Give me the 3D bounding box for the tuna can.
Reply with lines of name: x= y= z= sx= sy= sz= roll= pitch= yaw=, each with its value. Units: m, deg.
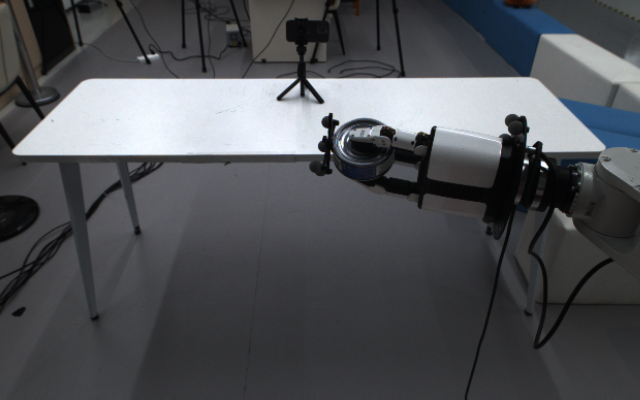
tuna can: x=0.063 y=-0.067 z=0.658 sx=0.085 sy=0.034 sz=0.085 roll=-2 pitch=57 yaw=3
